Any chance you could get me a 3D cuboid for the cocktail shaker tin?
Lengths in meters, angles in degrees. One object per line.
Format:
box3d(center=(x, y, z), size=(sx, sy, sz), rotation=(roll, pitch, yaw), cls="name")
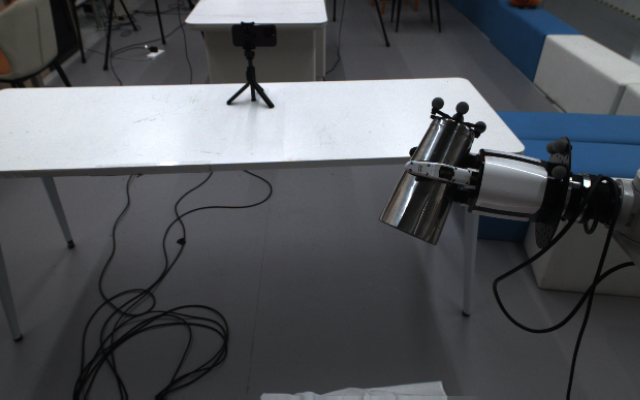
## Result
box3d(center=(0.164, -0.033, 0.709), size=(0.093, 0.170, 0.093), rotation=(23, 0, 0), cls="cocktail shaker tin")
